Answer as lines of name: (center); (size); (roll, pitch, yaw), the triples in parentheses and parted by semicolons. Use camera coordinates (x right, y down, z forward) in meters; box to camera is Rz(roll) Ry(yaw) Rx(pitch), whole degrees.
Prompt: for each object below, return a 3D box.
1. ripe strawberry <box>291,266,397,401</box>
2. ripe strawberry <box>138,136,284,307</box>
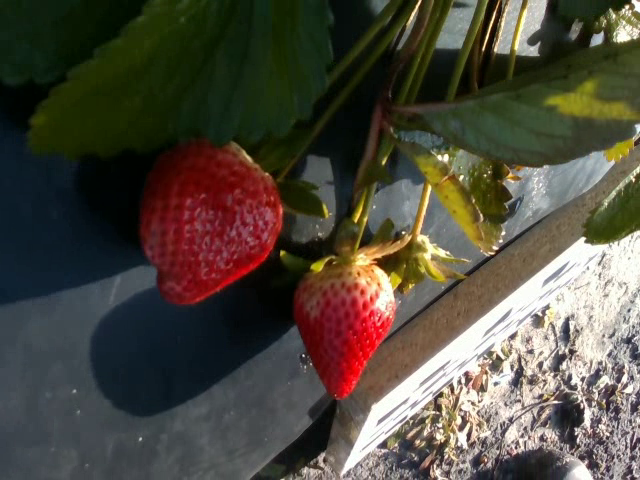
ripe strawberry: (0.011, 0.032, 0.209); (0.039, 0.053, 0.043); (3, 3, 33)
ripe strawberry: (-0.031, -0.004, 0.167); (0.039, 0.048, 0.054); (28, 47, 8)
